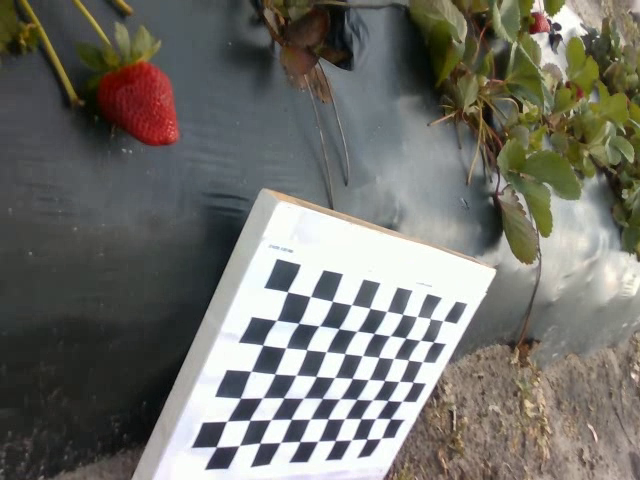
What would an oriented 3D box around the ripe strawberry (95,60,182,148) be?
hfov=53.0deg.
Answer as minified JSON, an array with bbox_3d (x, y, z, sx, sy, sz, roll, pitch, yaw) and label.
[{"bbox_3d":[-0.094,-0.070,0.336,0.045,0.055,0.042,-33,-21,-15],"label":"ripe strawberry"}]
